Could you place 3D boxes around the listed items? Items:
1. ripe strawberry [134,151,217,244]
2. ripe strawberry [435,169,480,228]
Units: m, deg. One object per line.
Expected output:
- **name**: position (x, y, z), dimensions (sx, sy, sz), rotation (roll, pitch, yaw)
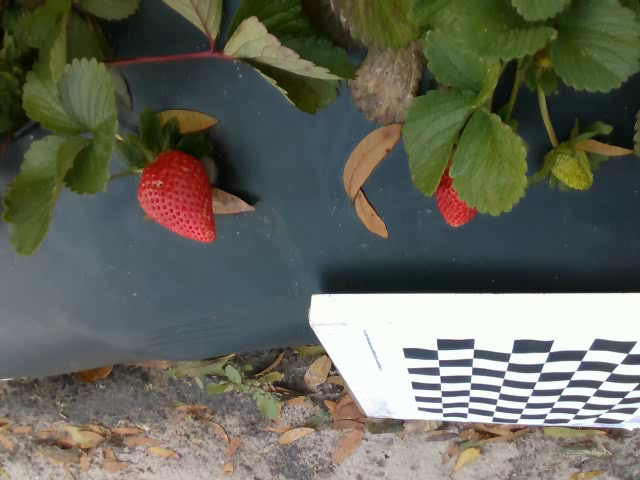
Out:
- **ripe strawberry**: position (-0.076, -0.019, 0.357), dimensions (0.042, 0.065, 0.047), rotation (-35, -23, -9)
- **ripe strawberry**: position (0.076, -0.022, 0.331), dimensions (0.040, 0.042, 0.037), rotation (2, 15, 2)
